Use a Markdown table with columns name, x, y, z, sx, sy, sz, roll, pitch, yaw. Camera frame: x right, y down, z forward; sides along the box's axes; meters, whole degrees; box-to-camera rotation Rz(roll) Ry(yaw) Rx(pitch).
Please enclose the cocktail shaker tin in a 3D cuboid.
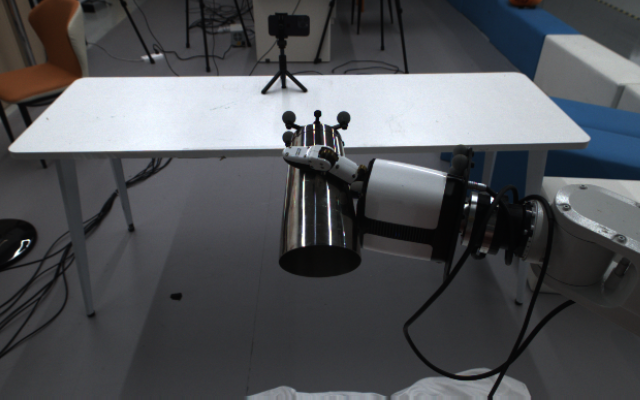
| name | x | y | z | sx | sy | sz | roll | pitch | yaw |
| --- | --- | --- | --- | --- | --- | --- | --- | --- | --- |
| cocktail shaker tin | -0.002 | -0.005 | 0.573 | 0.093 | 0.093 | 0.170 | 0 | 59 | -3 |
